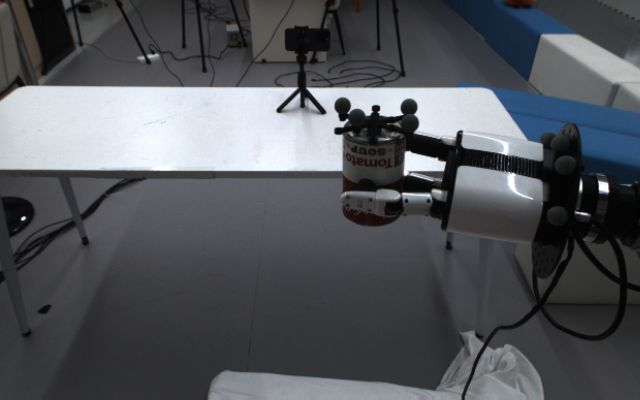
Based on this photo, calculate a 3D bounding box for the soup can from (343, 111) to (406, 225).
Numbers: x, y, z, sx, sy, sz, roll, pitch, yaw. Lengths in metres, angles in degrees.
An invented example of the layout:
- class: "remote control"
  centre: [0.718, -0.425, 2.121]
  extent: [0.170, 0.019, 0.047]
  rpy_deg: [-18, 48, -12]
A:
- class: "soup can"
  centre: [0.060, -0.033, 0.527]
  extent: [0.067, 0.101, 0.067]
  rpy_deg: [-2, 34, 1]
